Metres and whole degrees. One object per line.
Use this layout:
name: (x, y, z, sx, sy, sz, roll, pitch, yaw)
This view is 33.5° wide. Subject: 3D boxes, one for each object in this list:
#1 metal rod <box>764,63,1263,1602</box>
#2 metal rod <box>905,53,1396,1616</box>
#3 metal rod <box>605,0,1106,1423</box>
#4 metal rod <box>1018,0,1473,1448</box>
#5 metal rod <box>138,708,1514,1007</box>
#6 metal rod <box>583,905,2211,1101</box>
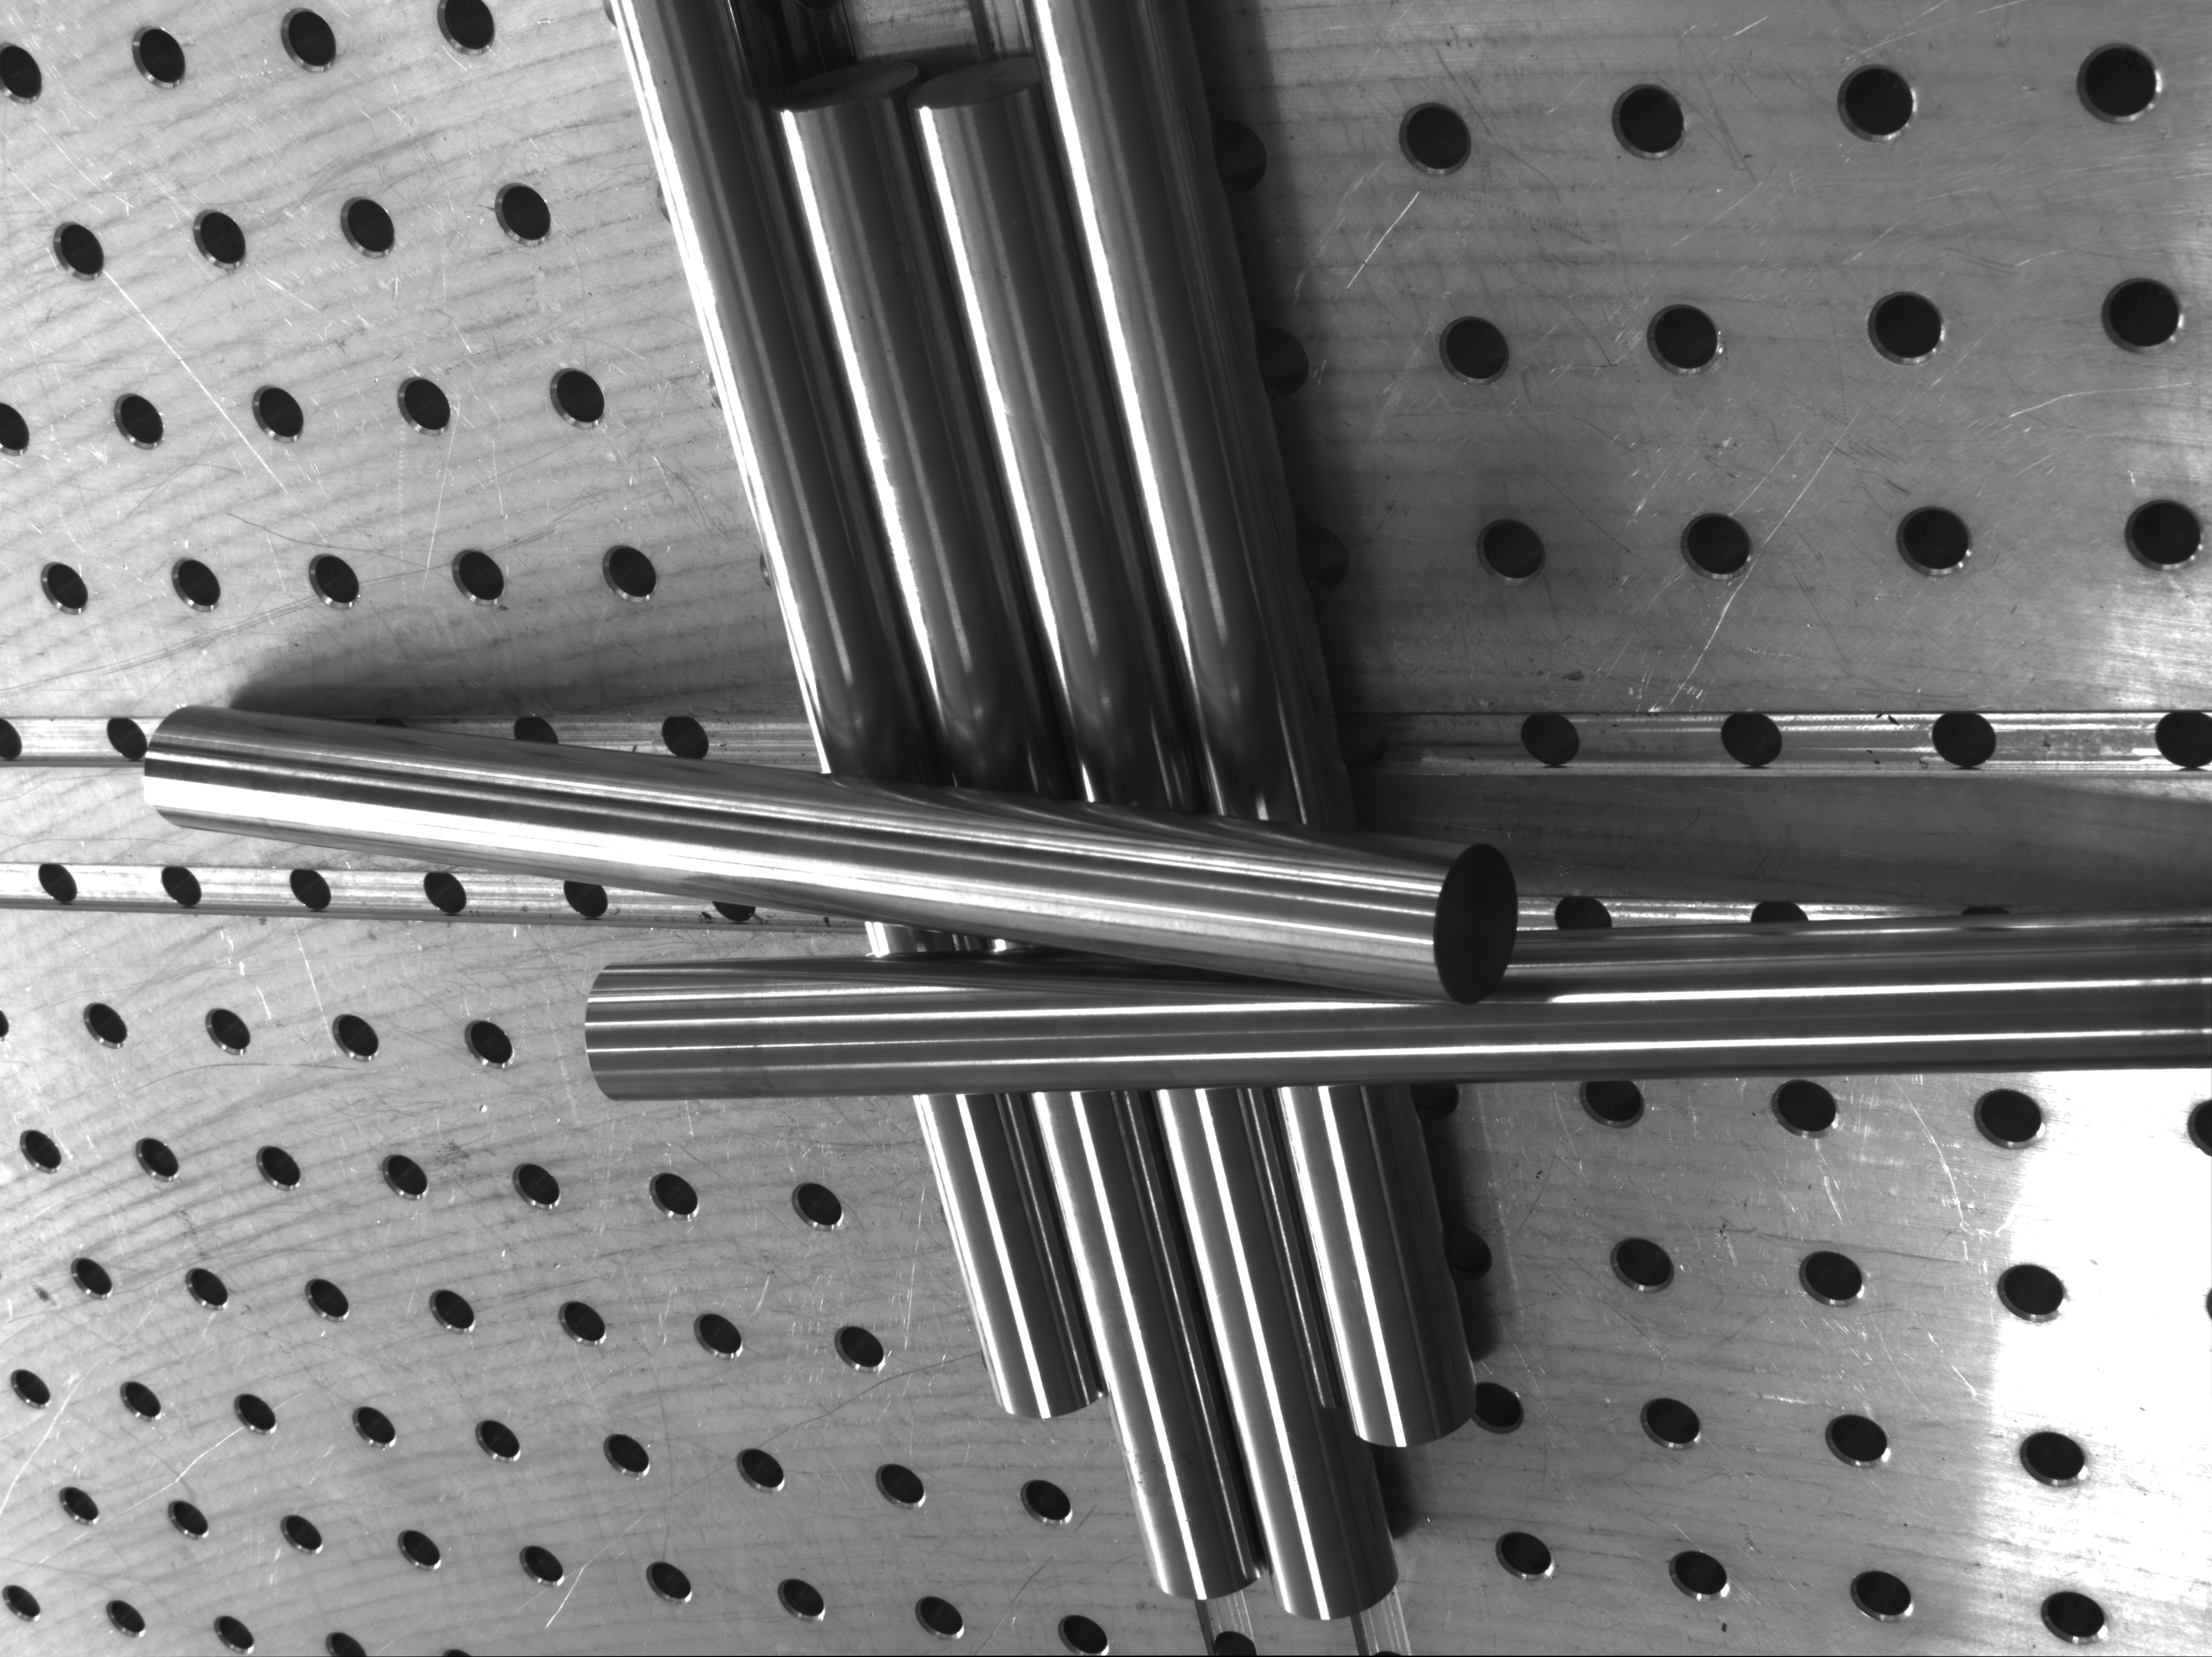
metal rod: (-0.012, 0.012, 0.659, 0.025, 0.025, 0.300, 1, 119, 28)
metal rod: (0.012, 0.012, 0.649, 0.025, 0.025, 0.300, 1, 119, 28)
metal rod: (-0.042, -0.024, 0.654, 0.025, 0.025, 0.300, 1, 119, 28)
metal rod: (0.024, -0.025, 0.617, 0.025, 0.025, 0.300, 1, 119, 28)
metal rod: (-0.064, 0.002, 0.652, 0.299, 0.025, 0.025, 6, 122, 36)
metal rod: (0.053, 0.030, 0.610, 0.299, 0.025, 0.025, -3, 117, 20)
